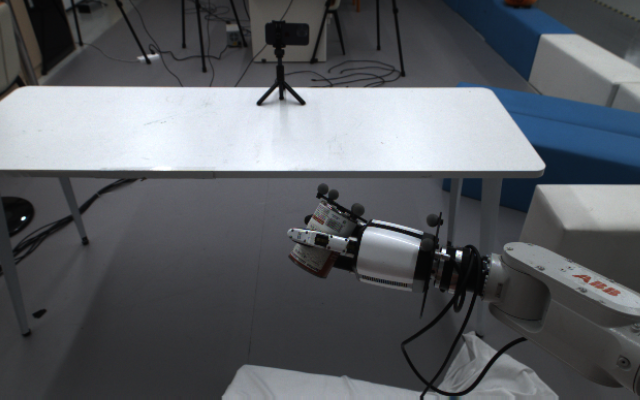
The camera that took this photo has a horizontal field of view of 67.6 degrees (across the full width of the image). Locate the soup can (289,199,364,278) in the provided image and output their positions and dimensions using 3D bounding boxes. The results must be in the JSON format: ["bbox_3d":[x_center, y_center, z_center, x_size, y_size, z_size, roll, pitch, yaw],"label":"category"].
[{"bbox_3d":[0.006,0.060,0.741,0.067,0.101,0.067,30,2,-1],"label":"soup can"}]
